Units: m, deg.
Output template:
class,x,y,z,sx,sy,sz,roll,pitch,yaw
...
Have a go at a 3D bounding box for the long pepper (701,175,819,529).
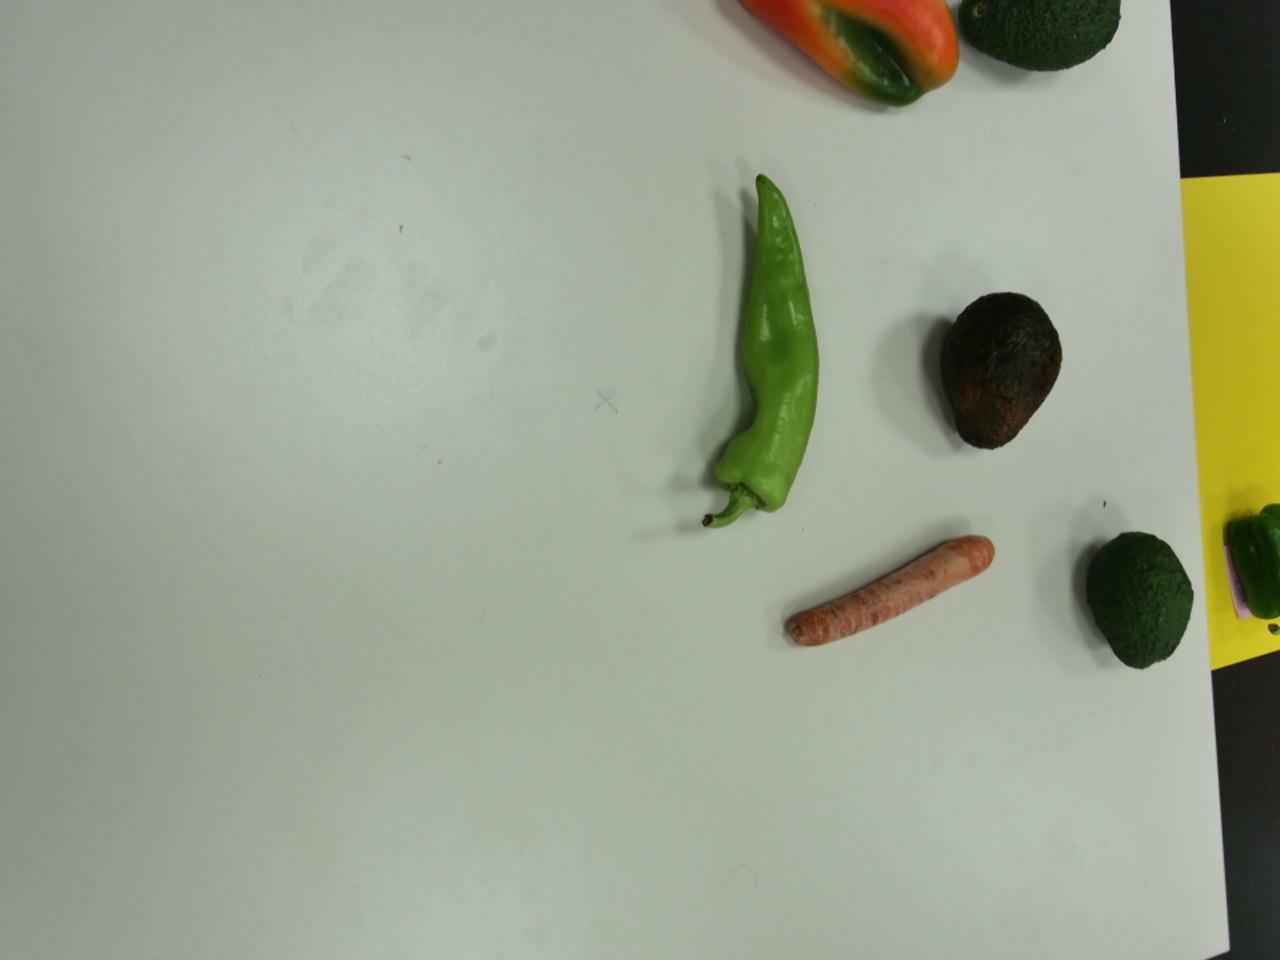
class,x,y,z,sx,sy,sz,roll,pitch,yaw
long pepper,0.077,-0.068,0.577,0.065,0.045,0.204,12,86,-22
